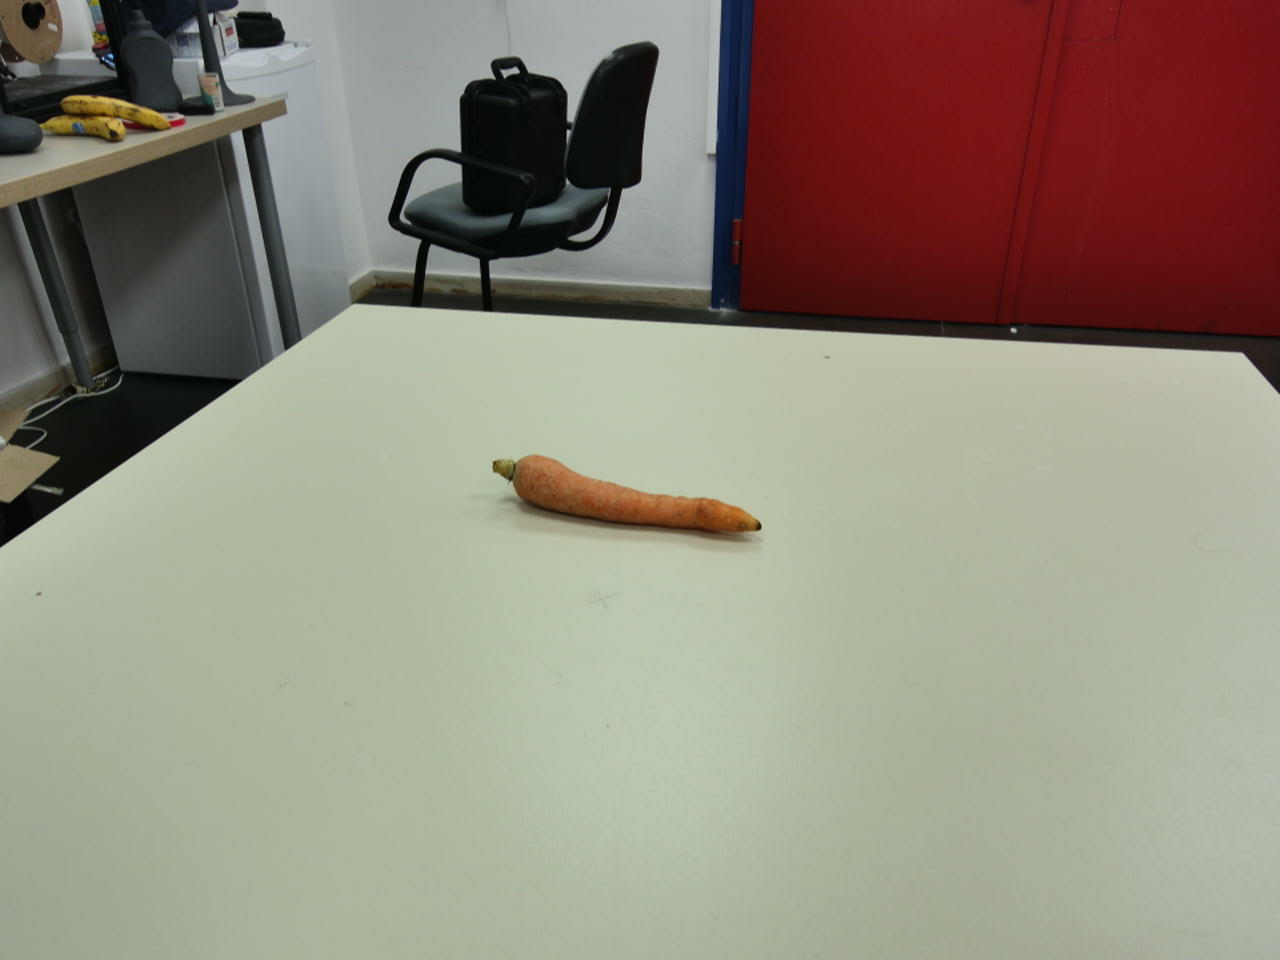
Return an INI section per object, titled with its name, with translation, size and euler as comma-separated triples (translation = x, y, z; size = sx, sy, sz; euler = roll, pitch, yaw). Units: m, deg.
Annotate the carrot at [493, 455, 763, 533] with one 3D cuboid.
[carrot]
translation = -0.011, 0.010, 0.606
size = 0.173, 0.032, 0.030
euler = 9, 28, 19
